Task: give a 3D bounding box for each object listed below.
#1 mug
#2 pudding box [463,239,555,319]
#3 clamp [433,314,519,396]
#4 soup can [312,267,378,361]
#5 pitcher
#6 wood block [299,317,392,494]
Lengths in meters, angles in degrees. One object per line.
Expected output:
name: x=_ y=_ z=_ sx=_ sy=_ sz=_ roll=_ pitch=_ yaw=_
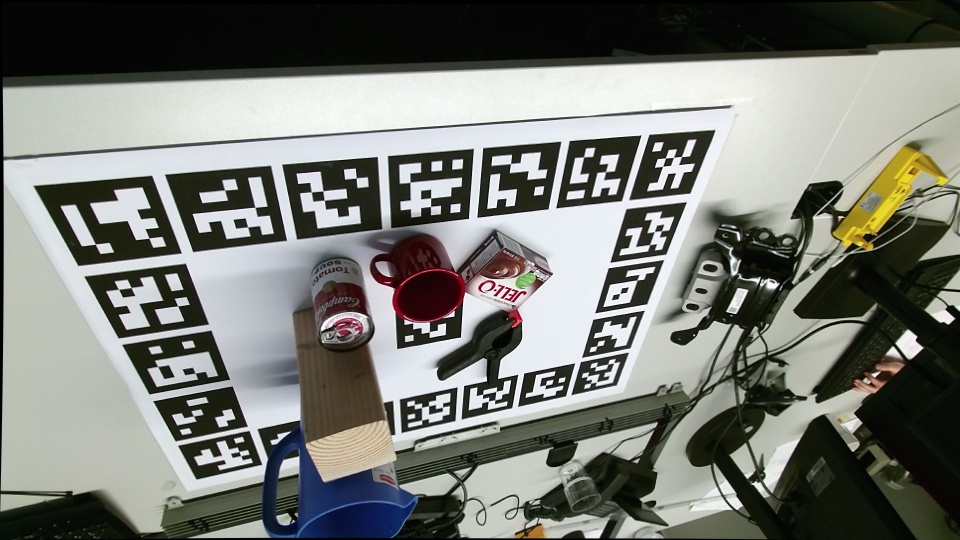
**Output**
mug: x=-0.083 y=0.015 z=0.681 sx=0.117 sy=0.081 sz=0.093 roll=23 pitch=119 yaw=-38
pudding box: x=0.042 y=0.014 z=0.768 sx=0.114 sy=0.038 sz=0.090 roll=25 pitch=113 yaw=-38
clamp: x=0.011 y=0.138 z=0.869 sx=0.122 sy=0.036 sz=0.165 roll=20 pitch=118 yaw=-27
soup can: x=-0.169 y=0.052 z=0.660 sx=0.068 sy=0.101 sz=0.068 roll=-12 pitch=130 yaw=-15
pitcher: x=-0.199 y=0.262 z=0.736 sx=0.189 sy=0.241 sz=0.133 roll=-12 pitch=134 yaw=-18
wood block: x=-0.174 y=0.156 z=0.676 sx=0.090 sy=0.205 sz=0.091 roll=-10 pitch=132 yaw=-11
